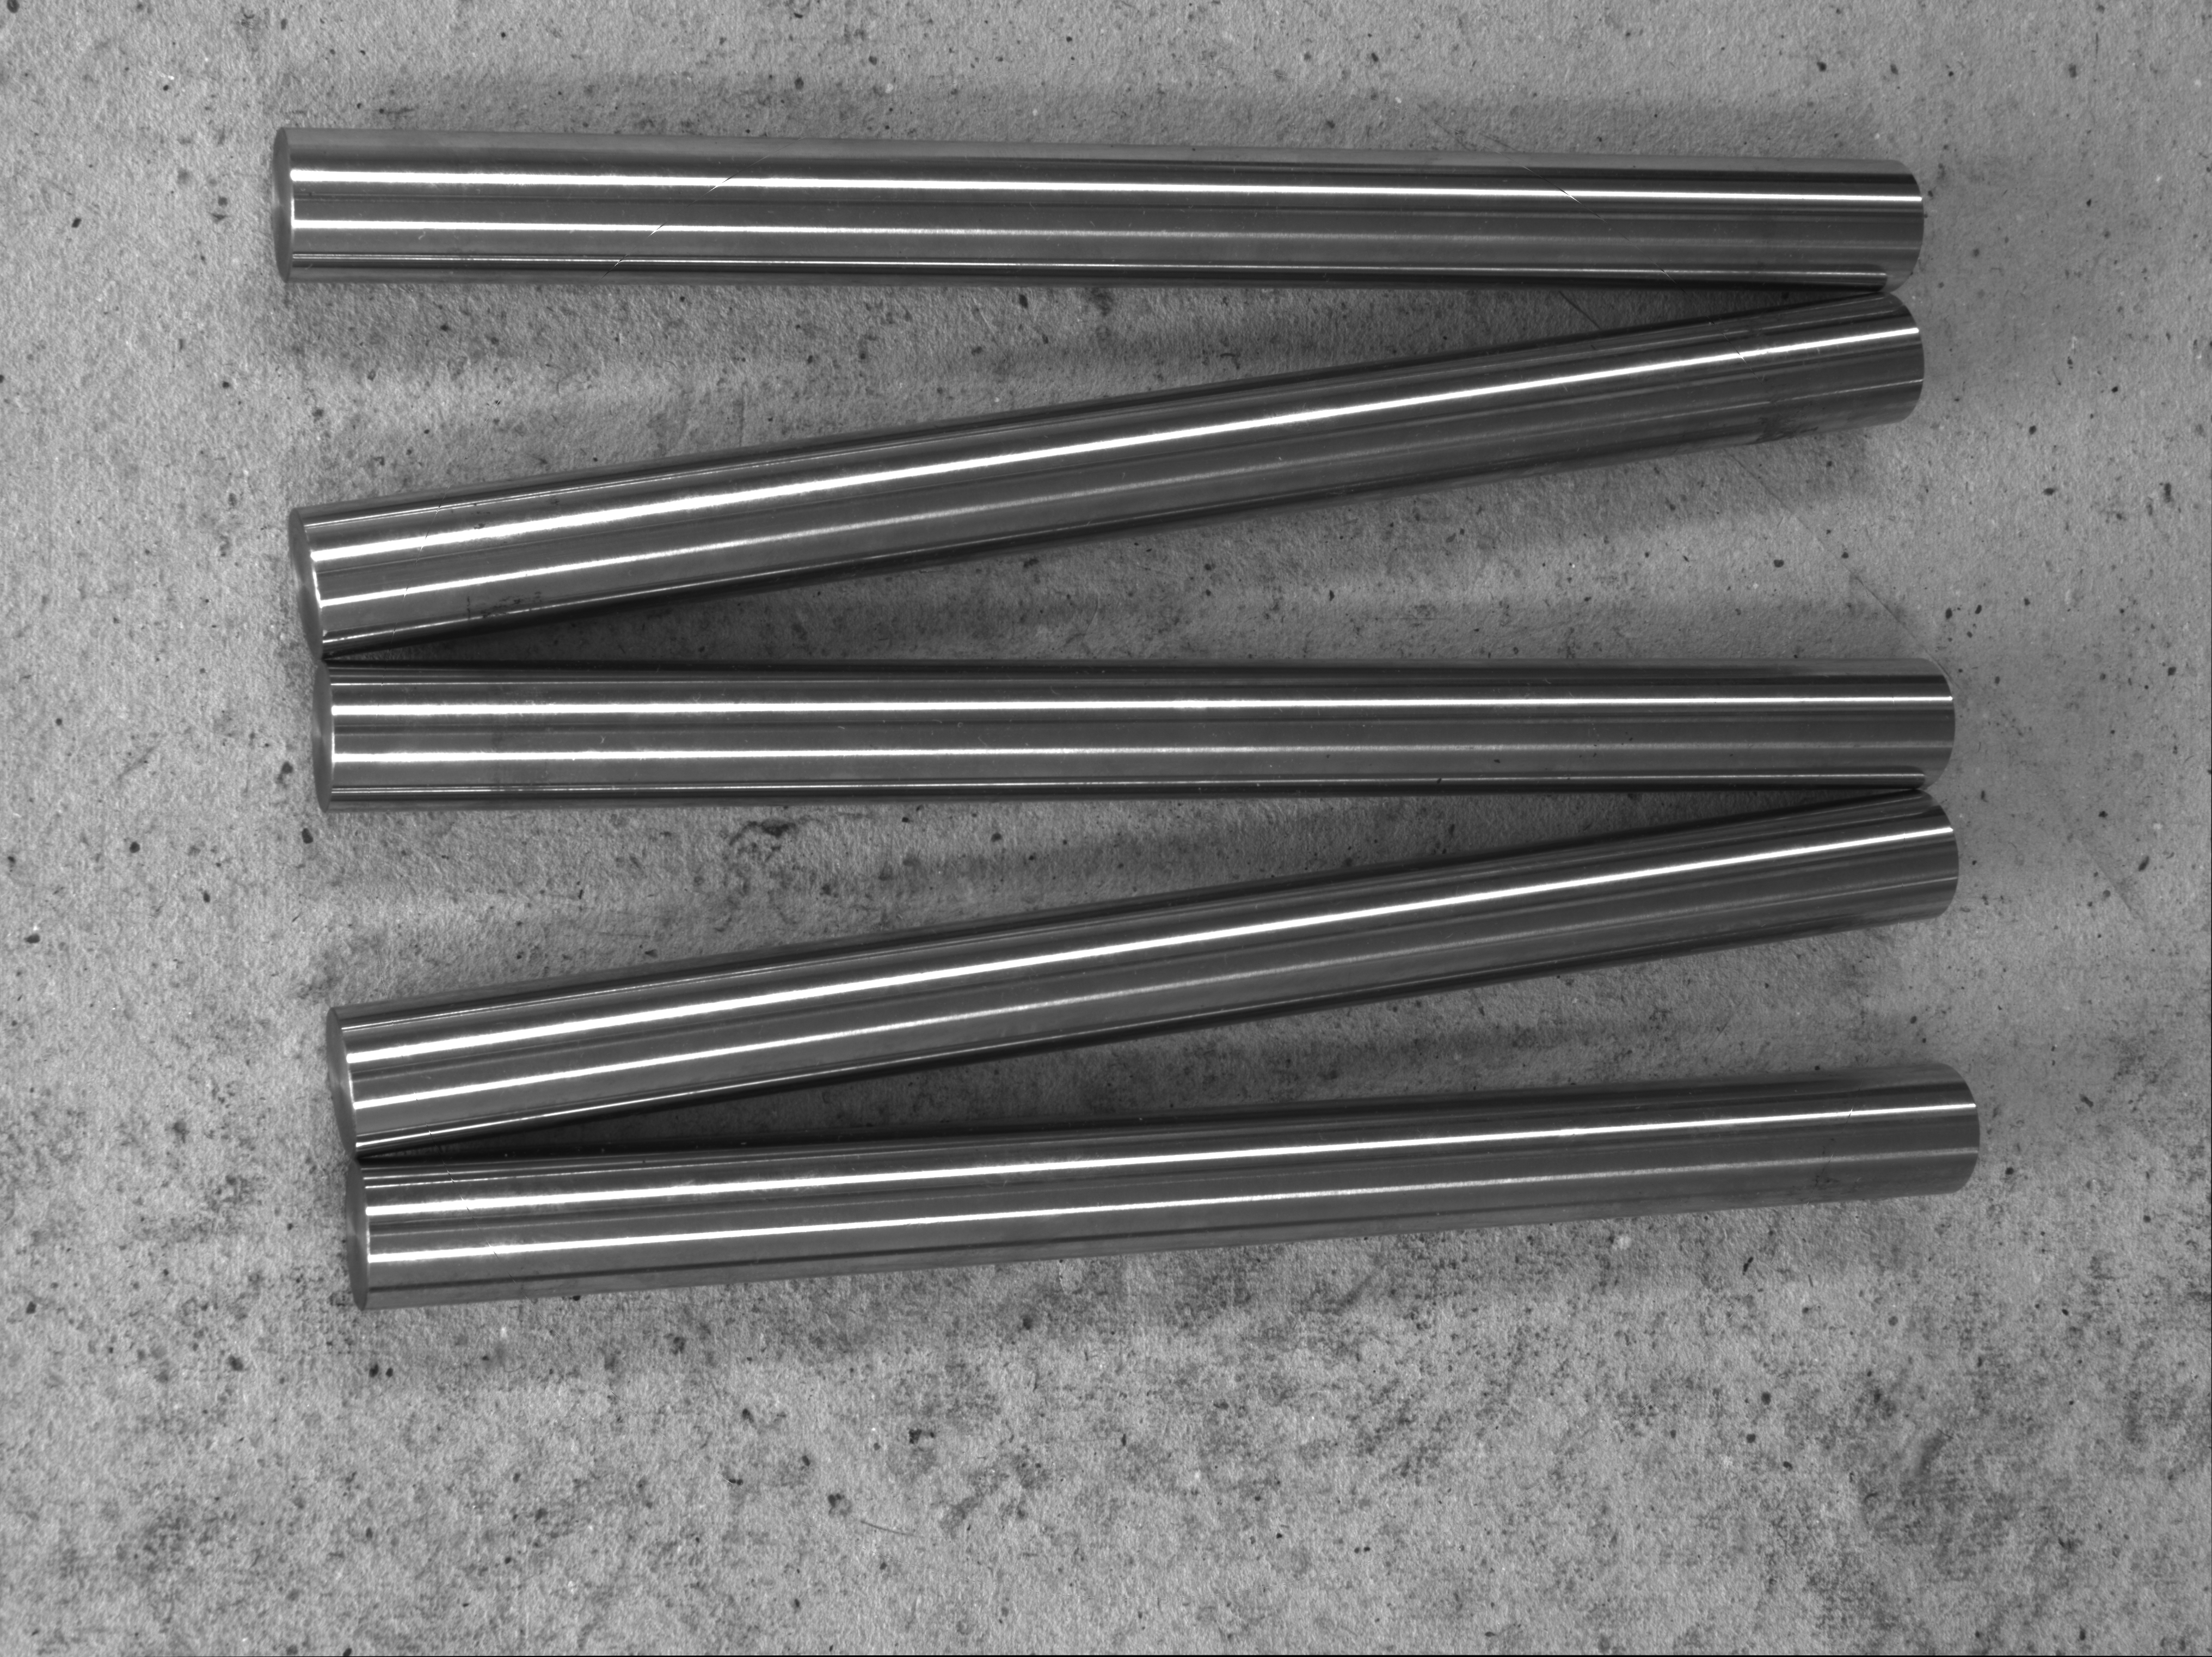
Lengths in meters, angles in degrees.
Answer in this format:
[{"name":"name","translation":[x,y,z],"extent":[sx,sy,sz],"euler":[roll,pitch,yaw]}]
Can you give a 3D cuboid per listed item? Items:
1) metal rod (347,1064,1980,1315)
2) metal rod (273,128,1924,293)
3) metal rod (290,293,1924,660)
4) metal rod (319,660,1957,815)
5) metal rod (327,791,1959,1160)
[{"name":"metal rod","translation":[0.019,0.062,0.650],"extent":[0.301,0.025,0.025],"euler":[-2,91,-20]},{"name":"metal rod","translation":[0.008,-0.108,0.646],"extent":[0.301,0.025,0.025],"euler":[-3,91,-20]},{"name":"metal rod","translation":[0.009,-0.064,0.646],"extent":[0.301,0.025,0.025],"euler":[-10,93,-20]},{"name":"metal rod","translation":[0.014,-0.017,0.648],"extent":[0.301,0.025,0.025],"euler":[-1,90,-20]},{"name":"metal rod","translation":[0.015,0.023,0.649],"extent":[0.301,0.025,0.025],"euler":[-7,92,-20]}]
